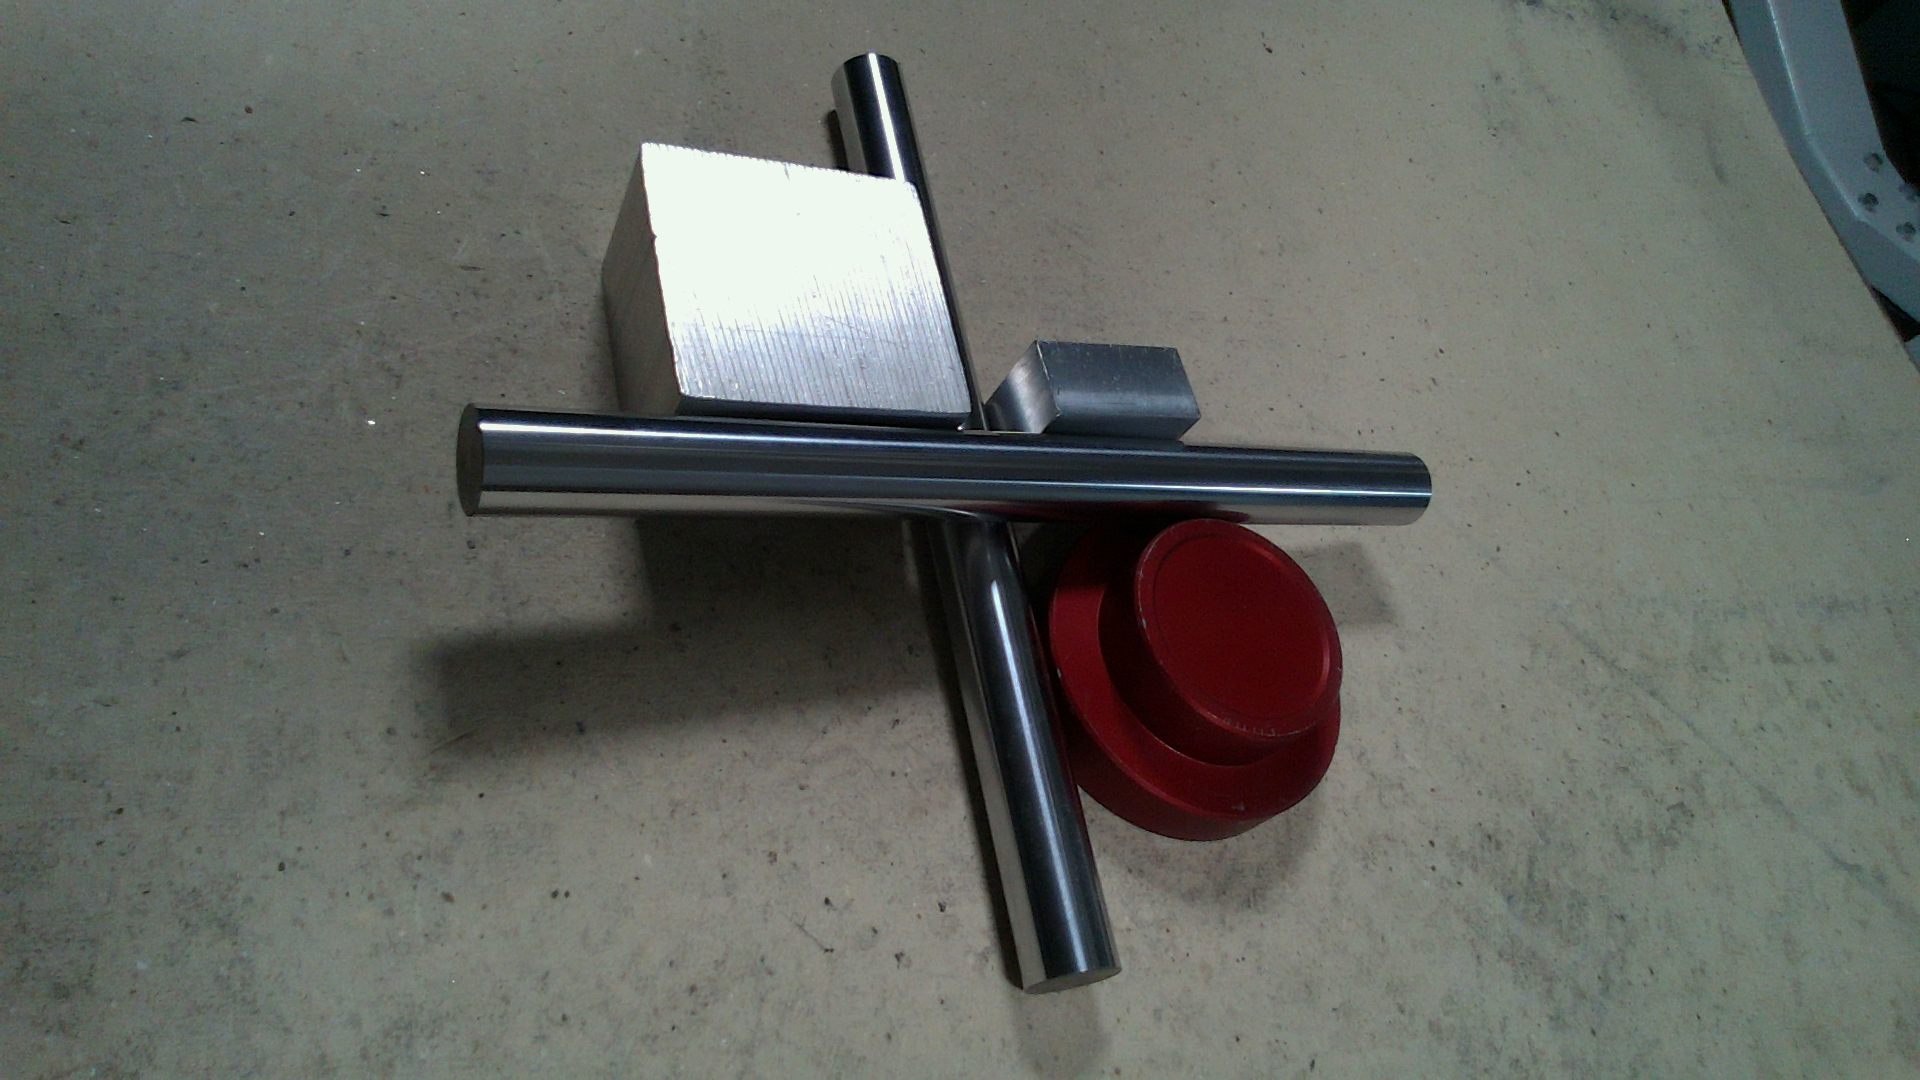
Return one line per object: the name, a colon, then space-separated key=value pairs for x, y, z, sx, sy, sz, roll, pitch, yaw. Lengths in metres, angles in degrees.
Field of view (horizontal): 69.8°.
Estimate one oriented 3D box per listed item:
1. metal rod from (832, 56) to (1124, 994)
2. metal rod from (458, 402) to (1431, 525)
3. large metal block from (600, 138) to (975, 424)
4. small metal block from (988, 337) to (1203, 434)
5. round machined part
metal rod: x=-0.002 y=-0.023 z=0.403 sx=0.025 sy=0.025 sz=0.300 roll=2 pitch=61 yaw=-27
metal rod: x=0.021 y=-0.017 z=0.379 sx=0.301 sy=0.025 sz=0.025 roll=0 pitch=61 yaw=-33
large metal block: x=-0.050 y=-0.058 z=0.381 sx=0.080 sy=0.050 sz=0.080 roll=1 pitch=61 yaw=-28
small metal block: x=0.036 y=-0.035 z=0.415 sx=0.050 sy=0.050 sz=0.025 roll=-1 pitch=62 yaw=-29
round machined part: x=0.070 y=0.033 z=0.395 sx=0.098 sy=0.042 sz=0.098 roll=14 pitch=56 yaw=-21
